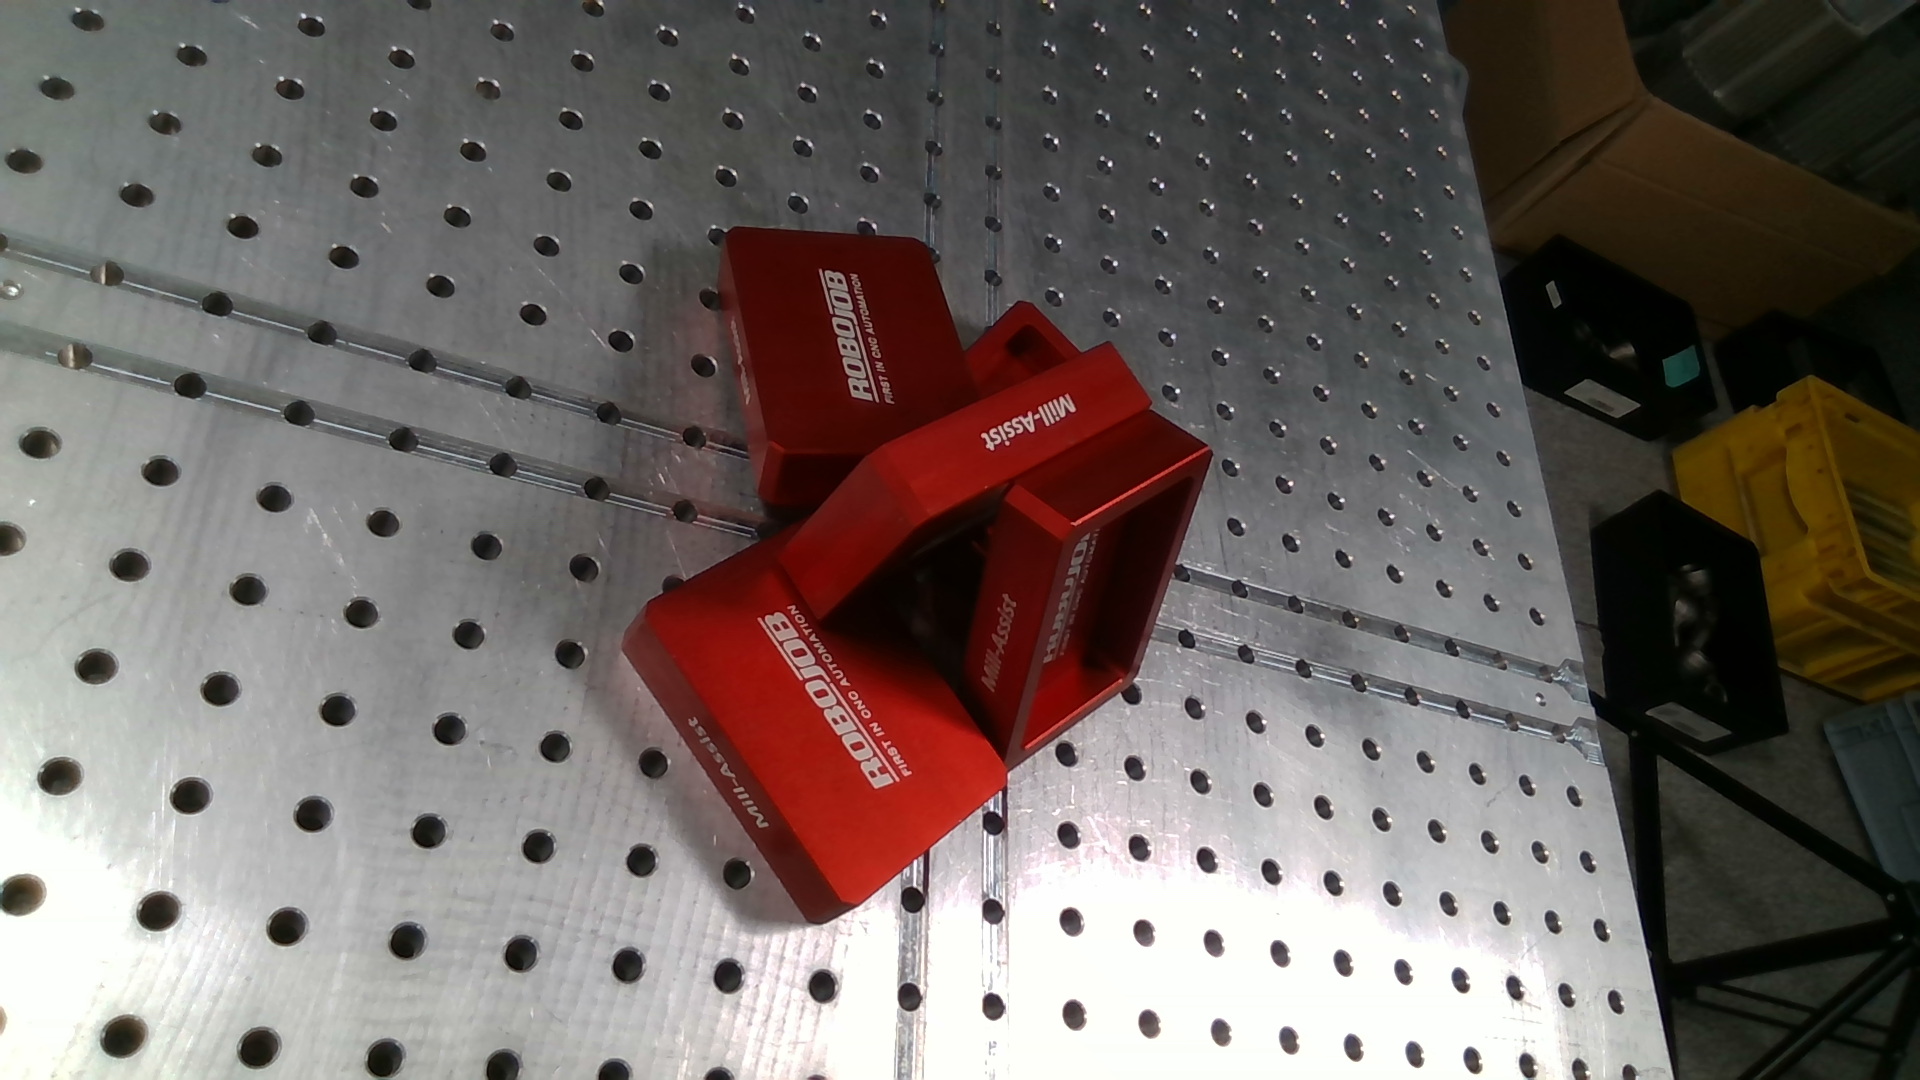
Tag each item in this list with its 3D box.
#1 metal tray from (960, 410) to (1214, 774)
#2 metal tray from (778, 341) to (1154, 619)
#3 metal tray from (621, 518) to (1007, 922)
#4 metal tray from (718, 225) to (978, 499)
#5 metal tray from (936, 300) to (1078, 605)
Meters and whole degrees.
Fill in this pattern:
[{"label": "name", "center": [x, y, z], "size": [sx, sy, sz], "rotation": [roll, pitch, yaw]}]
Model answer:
[{"label": "metal tray", "center": [0.046, 0.022, 0.539], "size": [0.030, 0.130, 0.090], "rotation": [37, 45, 28]}, {"label": "metal tray", "center": [0.003, -0.023, 0.522], "size": [0.130, 0.090, 0.030], "rotation": [-28, 82, -39]}, {"label": "metal tray", "center": [-0.053, 0.063, 0.518], "size": [0.090, 0.030, 0.130], "rotation": [-32, 84, -39]}, {"label": "metal tray", "center": [-0.046, -0.075, 0.567], "size": [0.090, 0.030, 0.130], "rotation": [-1, 51, -21]}, {"label": "metal tray", "center": [0.022, -0.041, 0.621], "size": [0.090, 0.030, 0.130], "rotation": [44, 51, -4]}]
